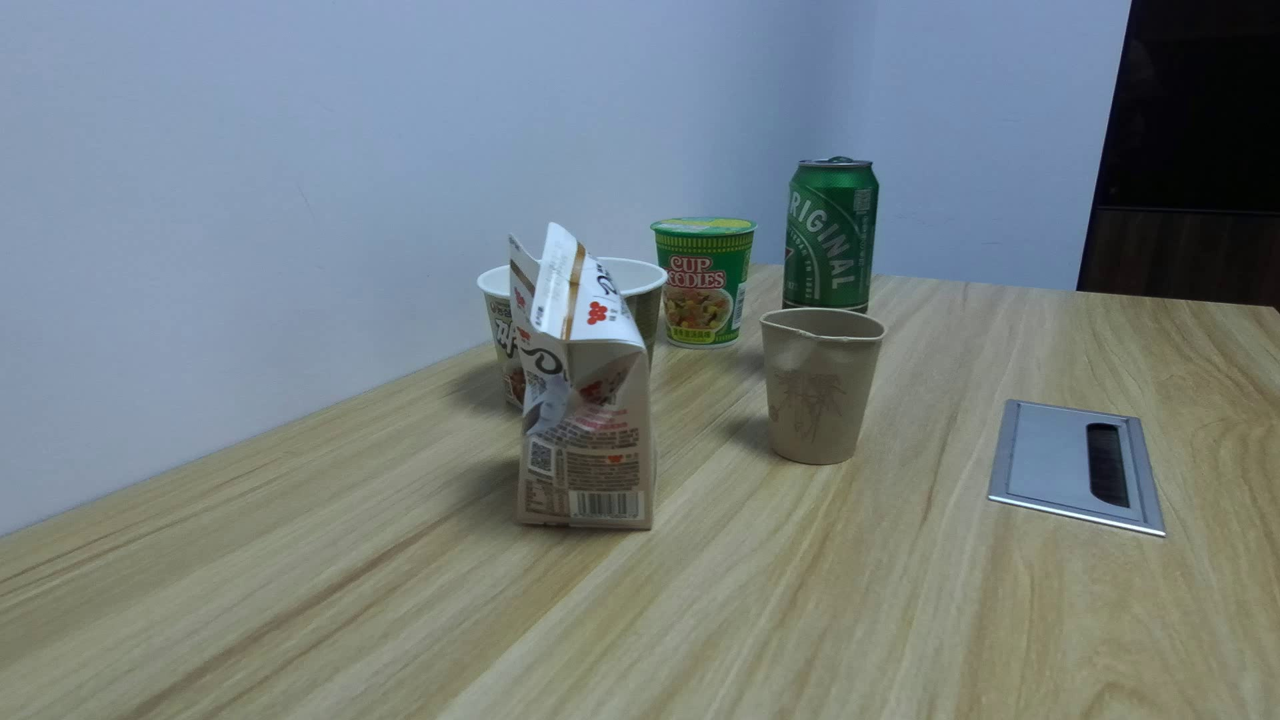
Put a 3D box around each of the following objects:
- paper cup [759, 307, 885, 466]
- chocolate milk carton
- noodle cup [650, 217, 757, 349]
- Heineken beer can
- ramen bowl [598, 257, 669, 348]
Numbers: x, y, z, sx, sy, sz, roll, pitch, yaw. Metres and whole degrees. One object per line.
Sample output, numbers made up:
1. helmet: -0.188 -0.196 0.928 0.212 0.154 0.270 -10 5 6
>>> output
1. paper cup: 0.110 0.015 0.440 0.073 0.081 0.068 -1 18 -3
2. chocolate milk carton: -0.032 0.013 0.369 0.077 0.156 0.089 -4 32 2
3. noodle cup: 0.061 -0.071 0.654 0.097 0.110 0.097 -2 18 1
4. Heineken beer can: 0.146 -0.066 0.548 0.067 0.169 0.067 0 17 0
5. ramen bowl: -0.049 -0.021 0.547 0.140 0.095 0.140 1 18 0
